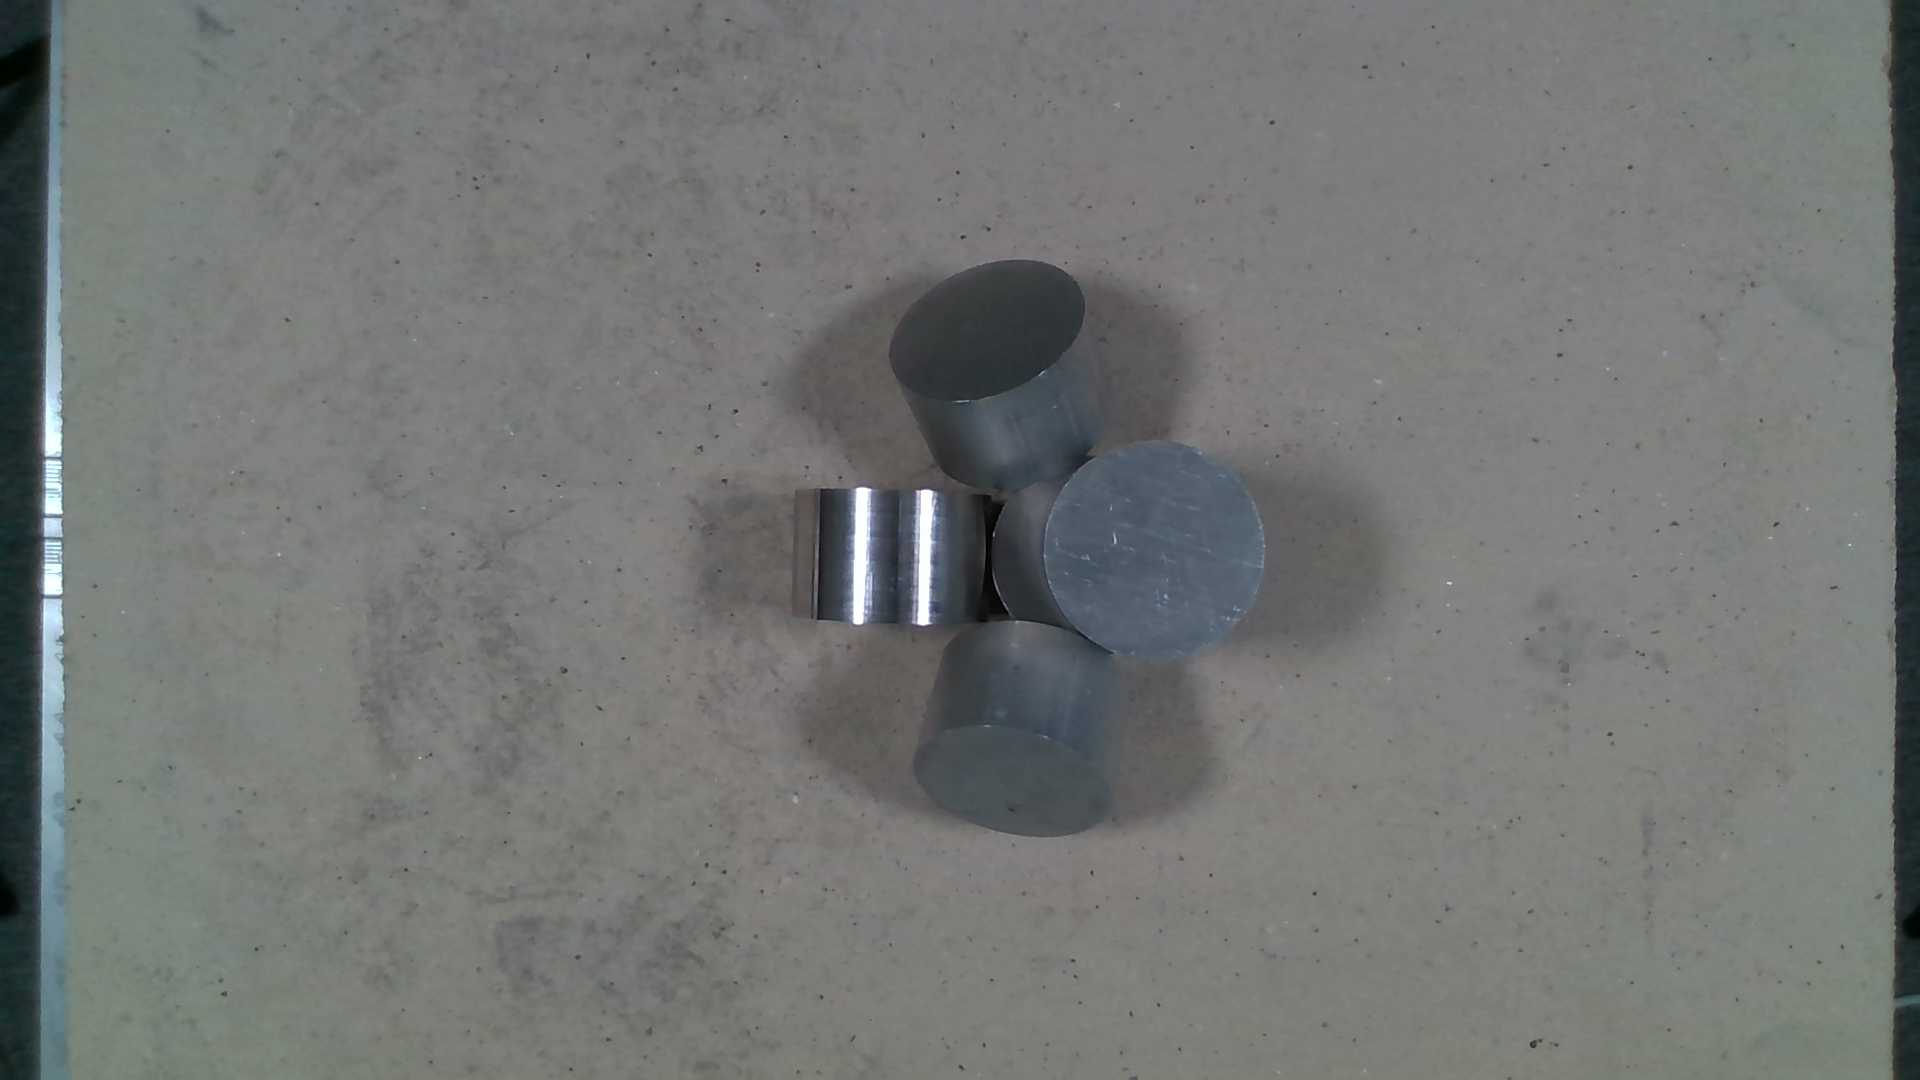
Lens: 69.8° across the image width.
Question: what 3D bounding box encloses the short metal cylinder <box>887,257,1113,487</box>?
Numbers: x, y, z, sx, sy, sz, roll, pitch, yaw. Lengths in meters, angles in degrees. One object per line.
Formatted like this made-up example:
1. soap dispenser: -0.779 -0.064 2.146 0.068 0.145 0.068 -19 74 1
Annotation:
1. short metal cylinder: 0.017 -0.068 0.554 0.080 0.050 0.080 -11 48 13

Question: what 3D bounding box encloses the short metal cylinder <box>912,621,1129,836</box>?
1. short metal cylinder: 0.025 0.077 0.554 0.080 0.080 0.050 15 51 0

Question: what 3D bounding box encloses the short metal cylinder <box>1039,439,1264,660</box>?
1. short metal cylinder: 0.070 0.003 0.524 0.080 0.050 0.080 0 90 0

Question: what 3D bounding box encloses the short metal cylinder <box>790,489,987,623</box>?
1. short metal cylinder: -0.029 0.006 0.559 0.080 0.080 0.050 2 90 0

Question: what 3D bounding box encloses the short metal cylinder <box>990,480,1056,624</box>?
1. short metal cylinder: 0.052 0.006 0.575 0.080 0.050 0.080 0 90 0
